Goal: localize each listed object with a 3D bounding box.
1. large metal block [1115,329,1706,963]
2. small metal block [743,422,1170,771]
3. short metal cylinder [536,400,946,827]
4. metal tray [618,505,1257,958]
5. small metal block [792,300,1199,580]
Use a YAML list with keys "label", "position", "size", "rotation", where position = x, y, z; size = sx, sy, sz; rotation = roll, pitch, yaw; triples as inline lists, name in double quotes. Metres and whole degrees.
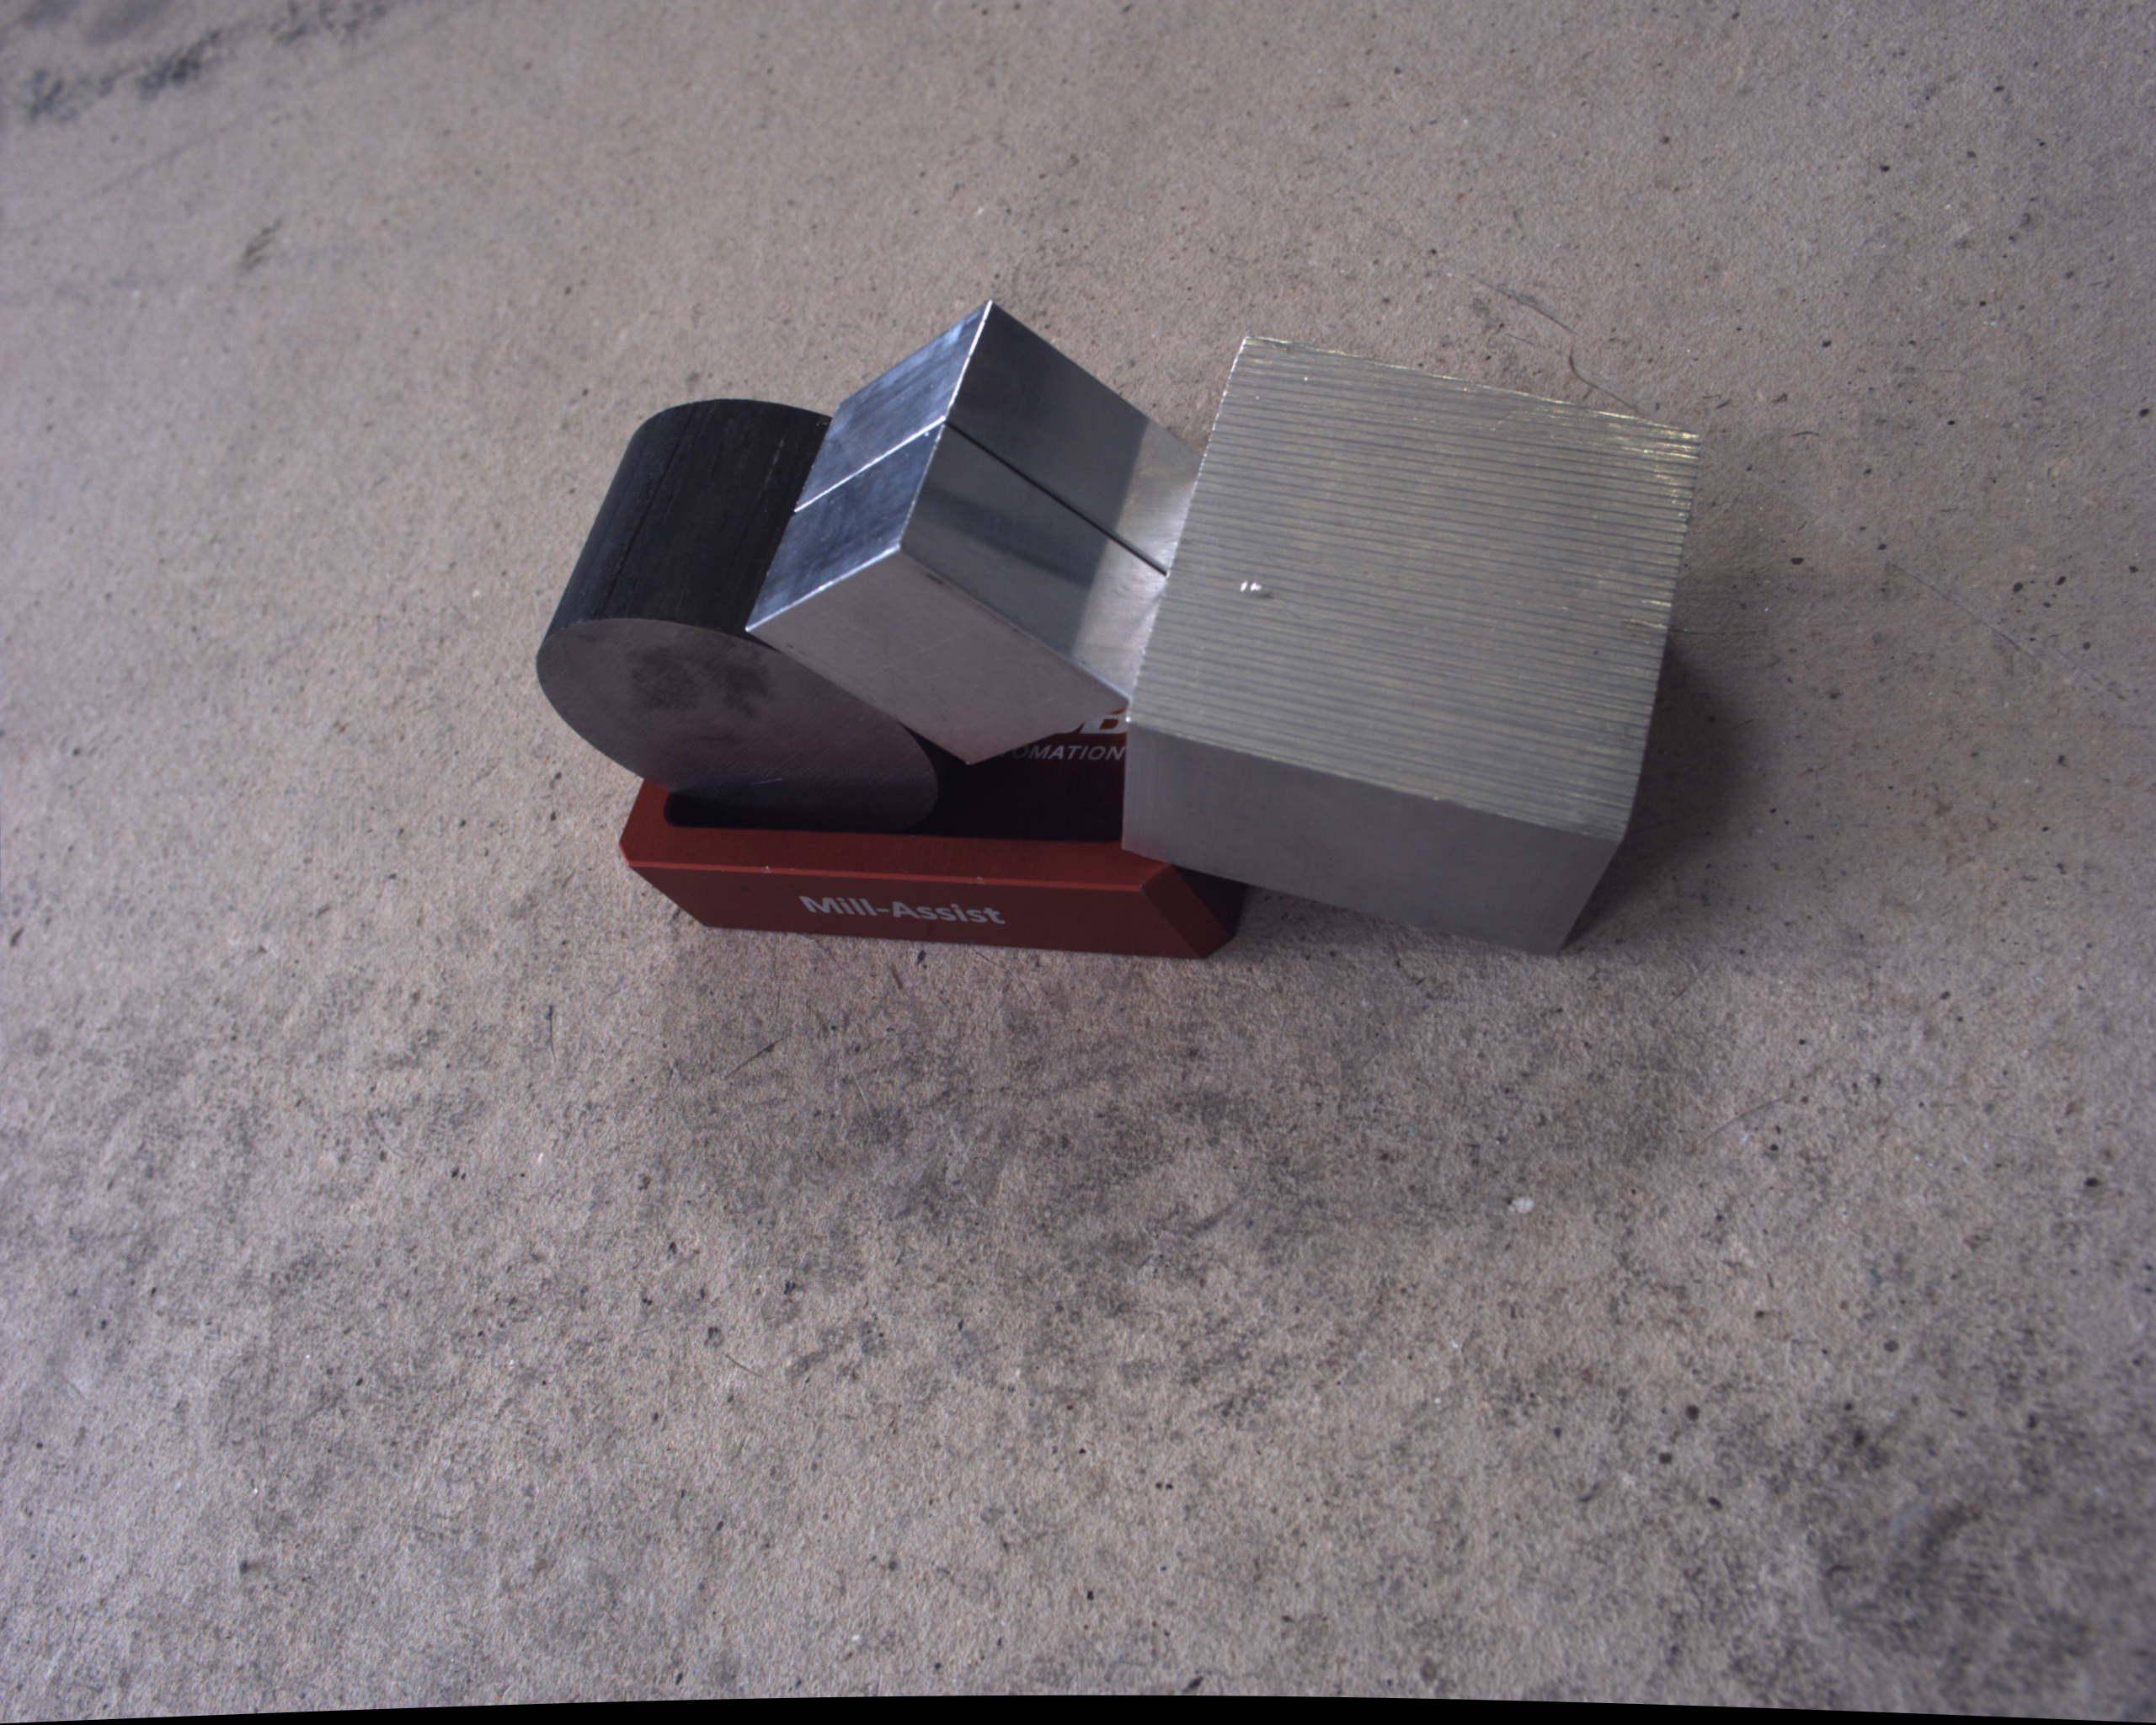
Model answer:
- label: "large metal block"
  position: [0.056, -0.037, 0.364]
  size: [0.080, 0.050, 0.080]
  rotation: [15, 67, 6]
- label: "small metal block"
  position: [-0.021, -0.044, 0.359]
  size: [0.050, 0.050, 0.025]
  rotation: [-17, 49, 51]
- label: "short metal cylinder"
  position: [-0.060, -0.046, 0.413]
  size: [0.080, 0.080, 0.050]
  rotation: [1, 63, 29]
- label: "metal tray"
  position: [-0.023, -0.030, 0.433]
  size: [0.130, 0.030, 0.090]
  rotation: [2, 63, 29]
- label: "small metal block"
  position: [-0.013, -0.066, 0.370]
  size: [0.050, 0.050, 0.025]
  rotation: [-17, 49, 51]
